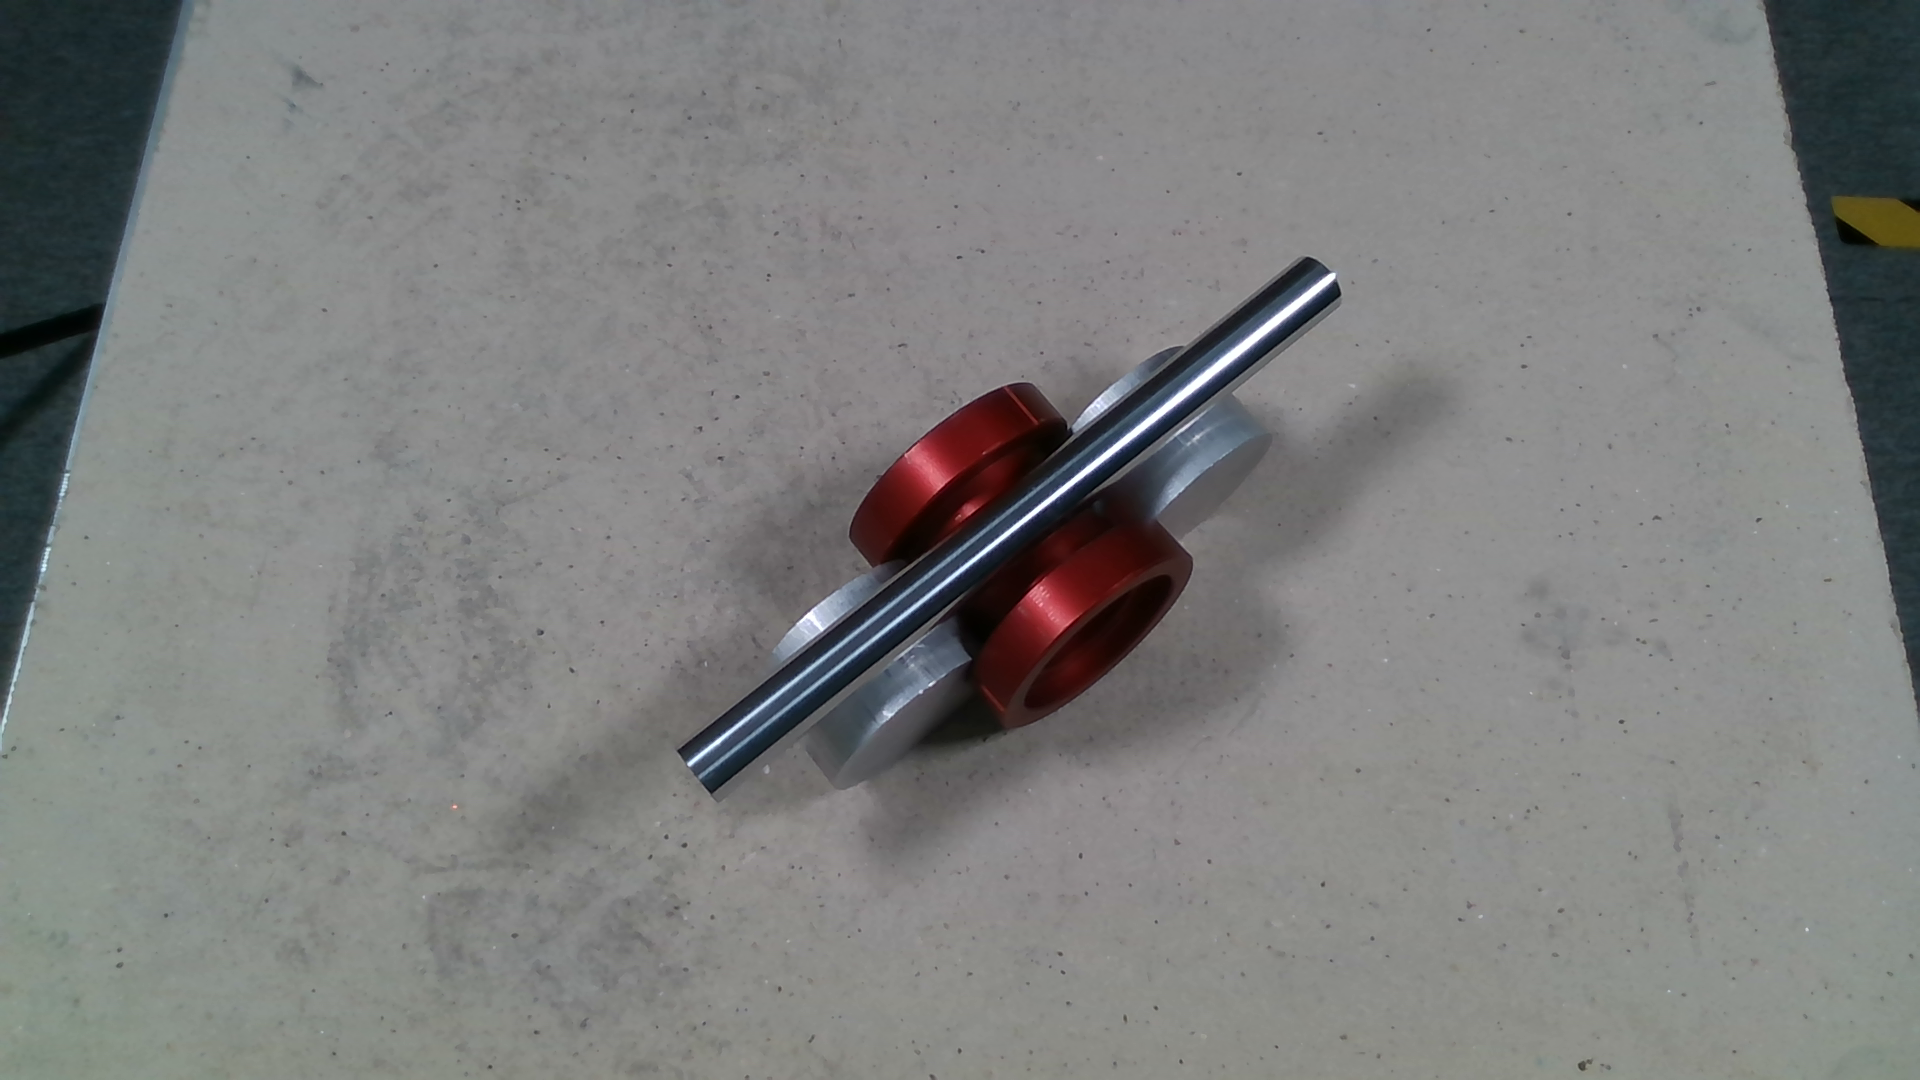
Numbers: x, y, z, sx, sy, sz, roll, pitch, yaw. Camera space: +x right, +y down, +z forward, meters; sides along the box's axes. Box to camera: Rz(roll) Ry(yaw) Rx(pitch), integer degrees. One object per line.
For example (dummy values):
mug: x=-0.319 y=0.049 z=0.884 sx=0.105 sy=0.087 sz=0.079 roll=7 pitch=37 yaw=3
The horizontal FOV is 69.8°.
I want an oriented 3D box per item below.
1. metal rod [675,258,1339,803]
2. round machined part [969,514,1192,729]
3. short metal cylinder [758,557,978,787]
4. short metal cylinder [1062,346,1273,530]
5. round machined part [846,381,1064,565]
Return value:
metal rod: x=0.024 y=-0.009 z=0.507 sx=0.300 sy=0.025 sz=0.025 roll=-38 pitch=75 yaw=-12
round machined part: x=0.041 y=0.026 z=0.540 sx=0.098 sy=0.098 sz=0.042 roll=-37 pitch=70 yaw=-12
short metal cylinder: x=-0.033 y=0.052 z=0.540 sx=0.080 sy=0.080 sz=0.050 roll=-37 pitch=74 yaw=-12
short metal cylinder: x=0.082 y=-0.035 z=0.571 sx=0.080 sy=0.080 sz=0.050 roll=-37 pitch=74 yaw=-12
round machined part: x=0.005 y=-0.015 z=0.554 sx=0.098 sy=0.098 sz=0.042 roll=-37 pitch=78 yaw=-12
